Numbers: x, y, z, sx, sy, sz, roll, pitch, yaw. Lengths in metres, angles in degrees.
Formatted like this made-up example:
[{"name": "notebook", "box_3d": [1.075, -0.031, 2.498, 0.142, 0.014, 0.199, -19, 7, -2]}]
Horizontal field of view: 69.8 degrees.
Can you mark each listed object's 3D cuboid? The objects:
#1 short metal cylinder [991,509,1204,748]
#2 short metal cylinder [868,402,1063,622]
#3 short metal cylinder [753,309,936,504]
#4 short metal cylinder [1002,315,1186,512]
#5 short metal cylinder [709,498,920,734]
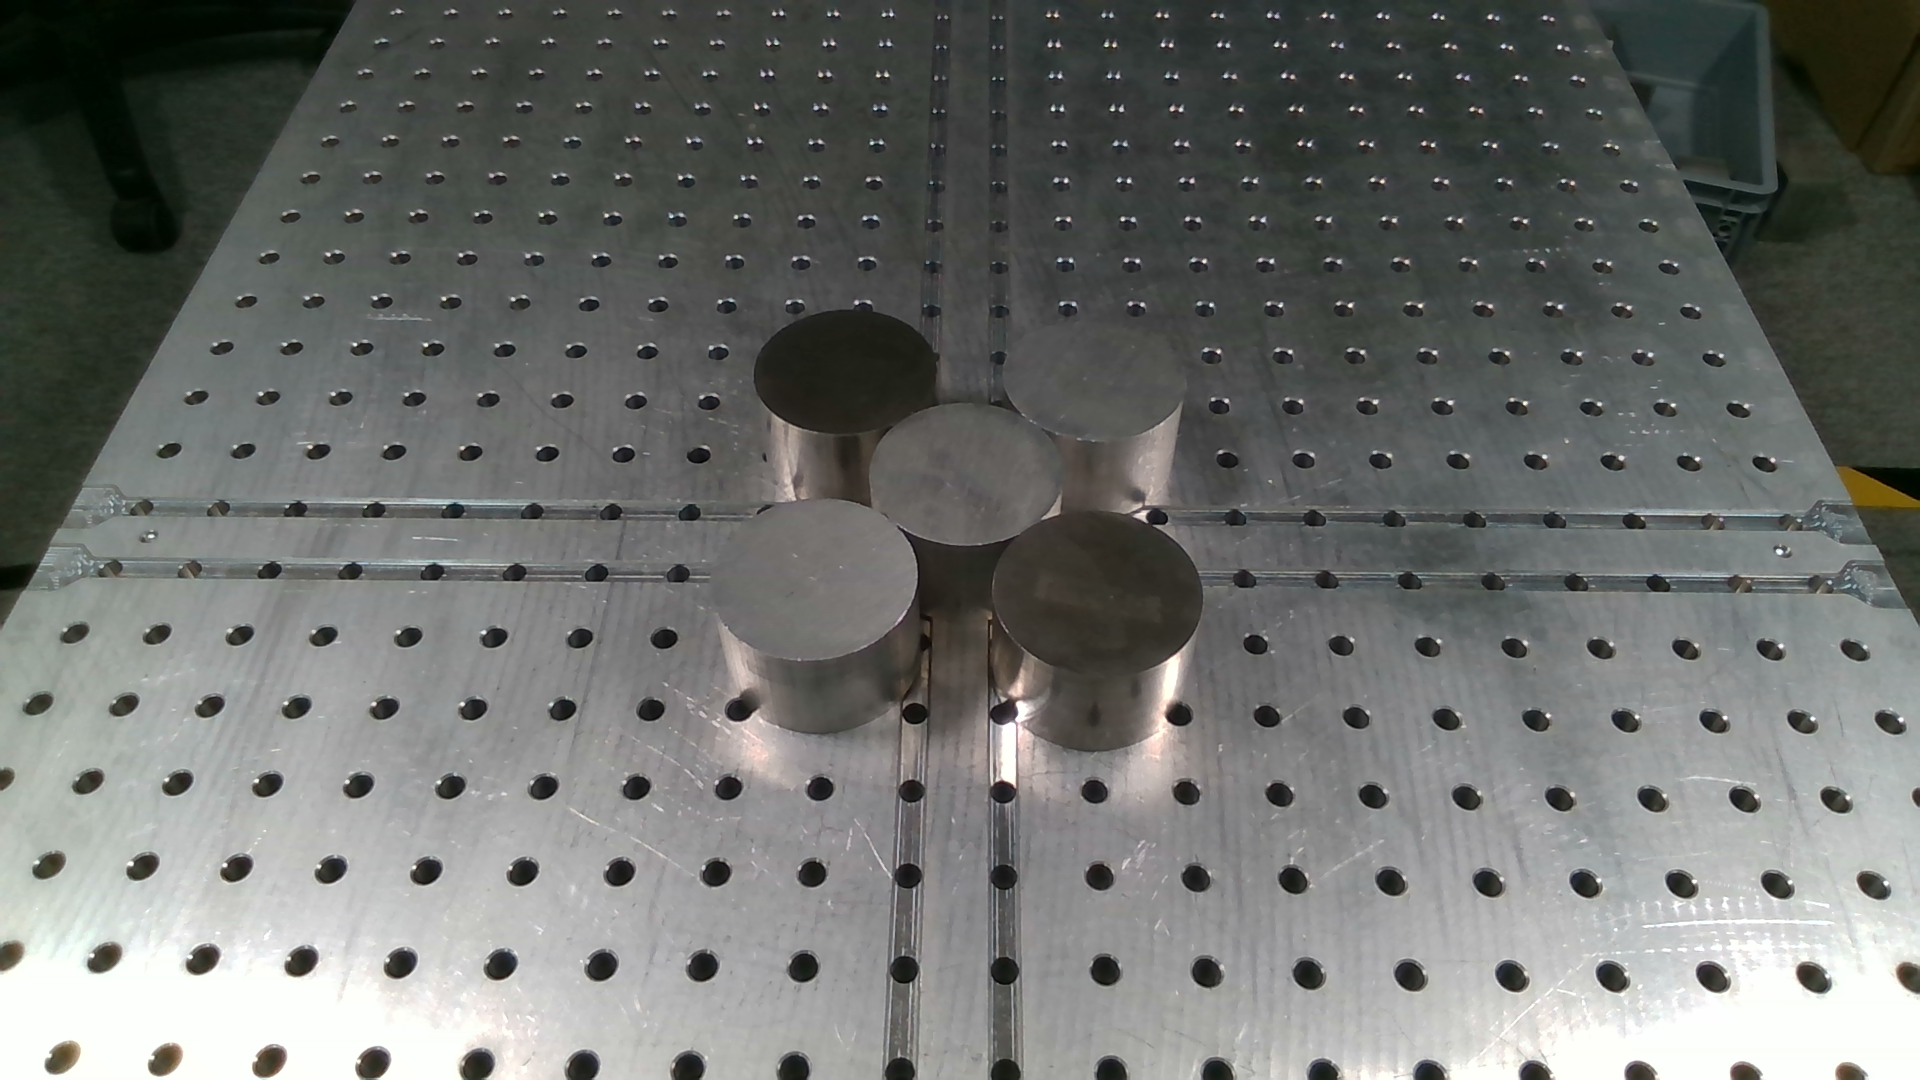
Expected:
[{"name": "short metal cylinder", "box_3d": [0.052, 0.034, 0.542, 0.080, 0.050, 0.080, 0, 50, 0]}, {"name": "short metal cylinder", "box_3d": [0.002, -0.012, 0.583, 0.080, 0.050, 0.080, 0, 50, 0]}, {"name": "short metal cylinder", "box_3d": [-0.051, -0.059, 0.622, 0.080, 0.050, 0.080, 0, 50, 0]}, {"name": "short metal cylinder", "box_3d": [0.058, -0.056, 0.620, 0.080, 0.050, 0.080, 0, 50, 0]}, {"name": "short metal cylinder", "box_3d": [-0.056, 0.030, 0.548, 0.080, 0.050, 0.080, 0, 50, 0]}]
